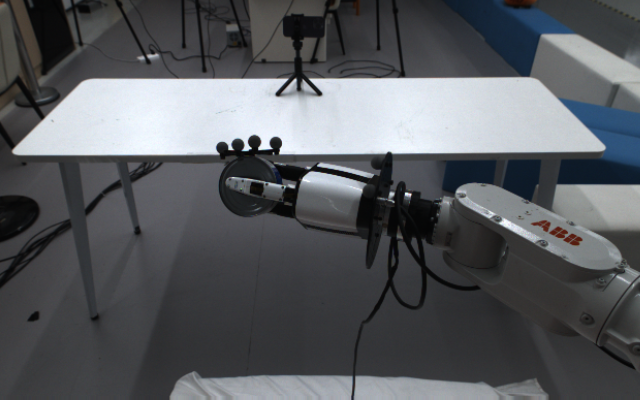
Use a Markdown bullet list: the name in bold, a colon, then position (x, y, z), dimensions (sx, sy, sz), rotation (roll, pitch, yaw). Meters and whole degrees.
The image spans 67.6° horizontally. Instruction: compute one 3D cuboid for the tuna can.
- **tuna can**: position (-0.093, -0.018, 0.685), dimensions (0.085, 0.085, 0.034), rotation (10, 2, 11)
